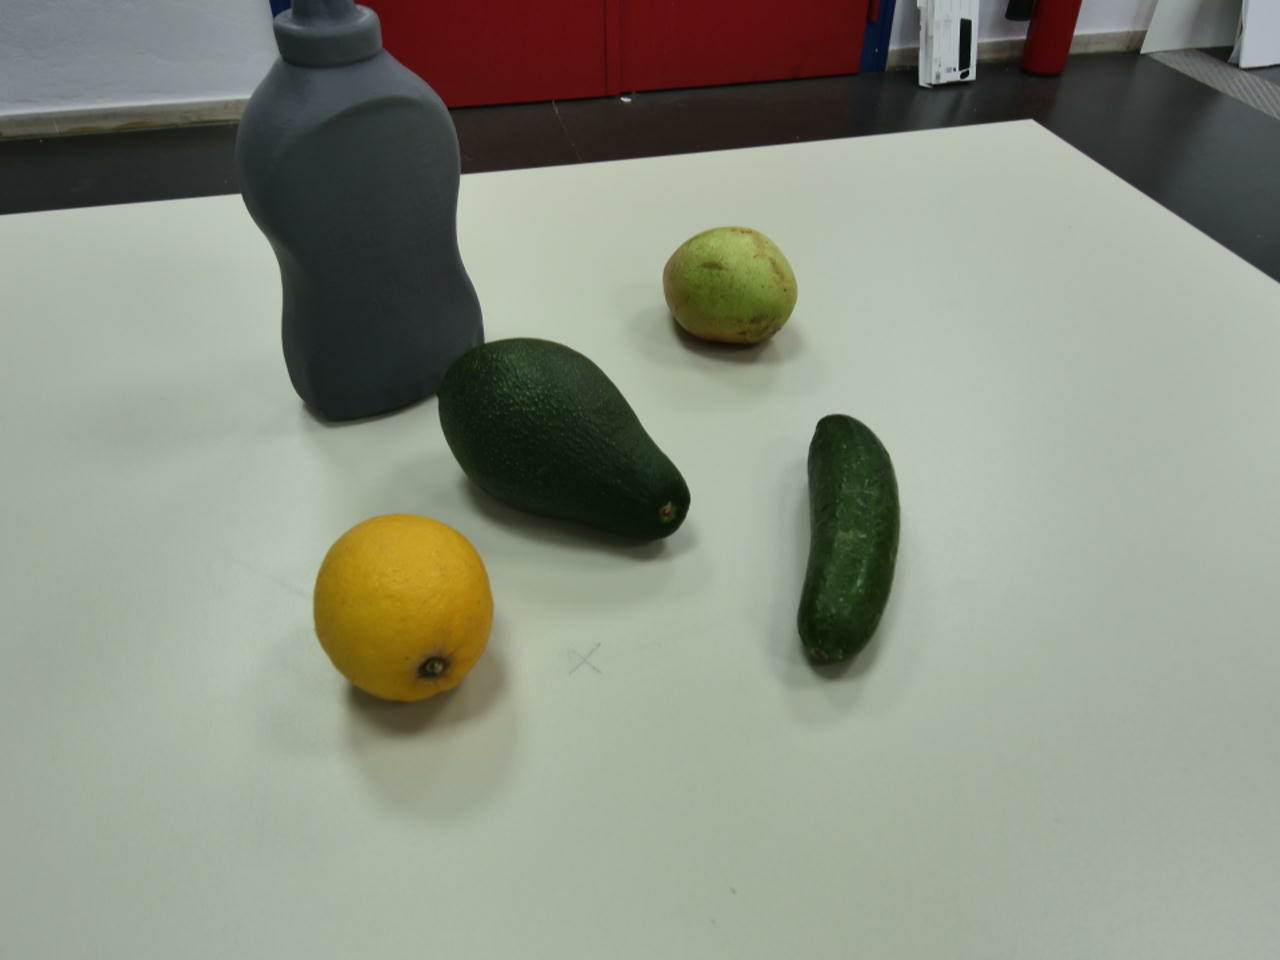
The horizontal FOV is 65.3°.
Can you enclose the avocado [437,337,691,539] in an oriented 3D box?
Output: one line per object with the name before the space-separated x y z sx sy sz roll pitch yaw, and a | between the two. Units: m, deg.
avocado | -0.035 -0.017 0.415 0.072 0.071 0.109 -24 44 -28
